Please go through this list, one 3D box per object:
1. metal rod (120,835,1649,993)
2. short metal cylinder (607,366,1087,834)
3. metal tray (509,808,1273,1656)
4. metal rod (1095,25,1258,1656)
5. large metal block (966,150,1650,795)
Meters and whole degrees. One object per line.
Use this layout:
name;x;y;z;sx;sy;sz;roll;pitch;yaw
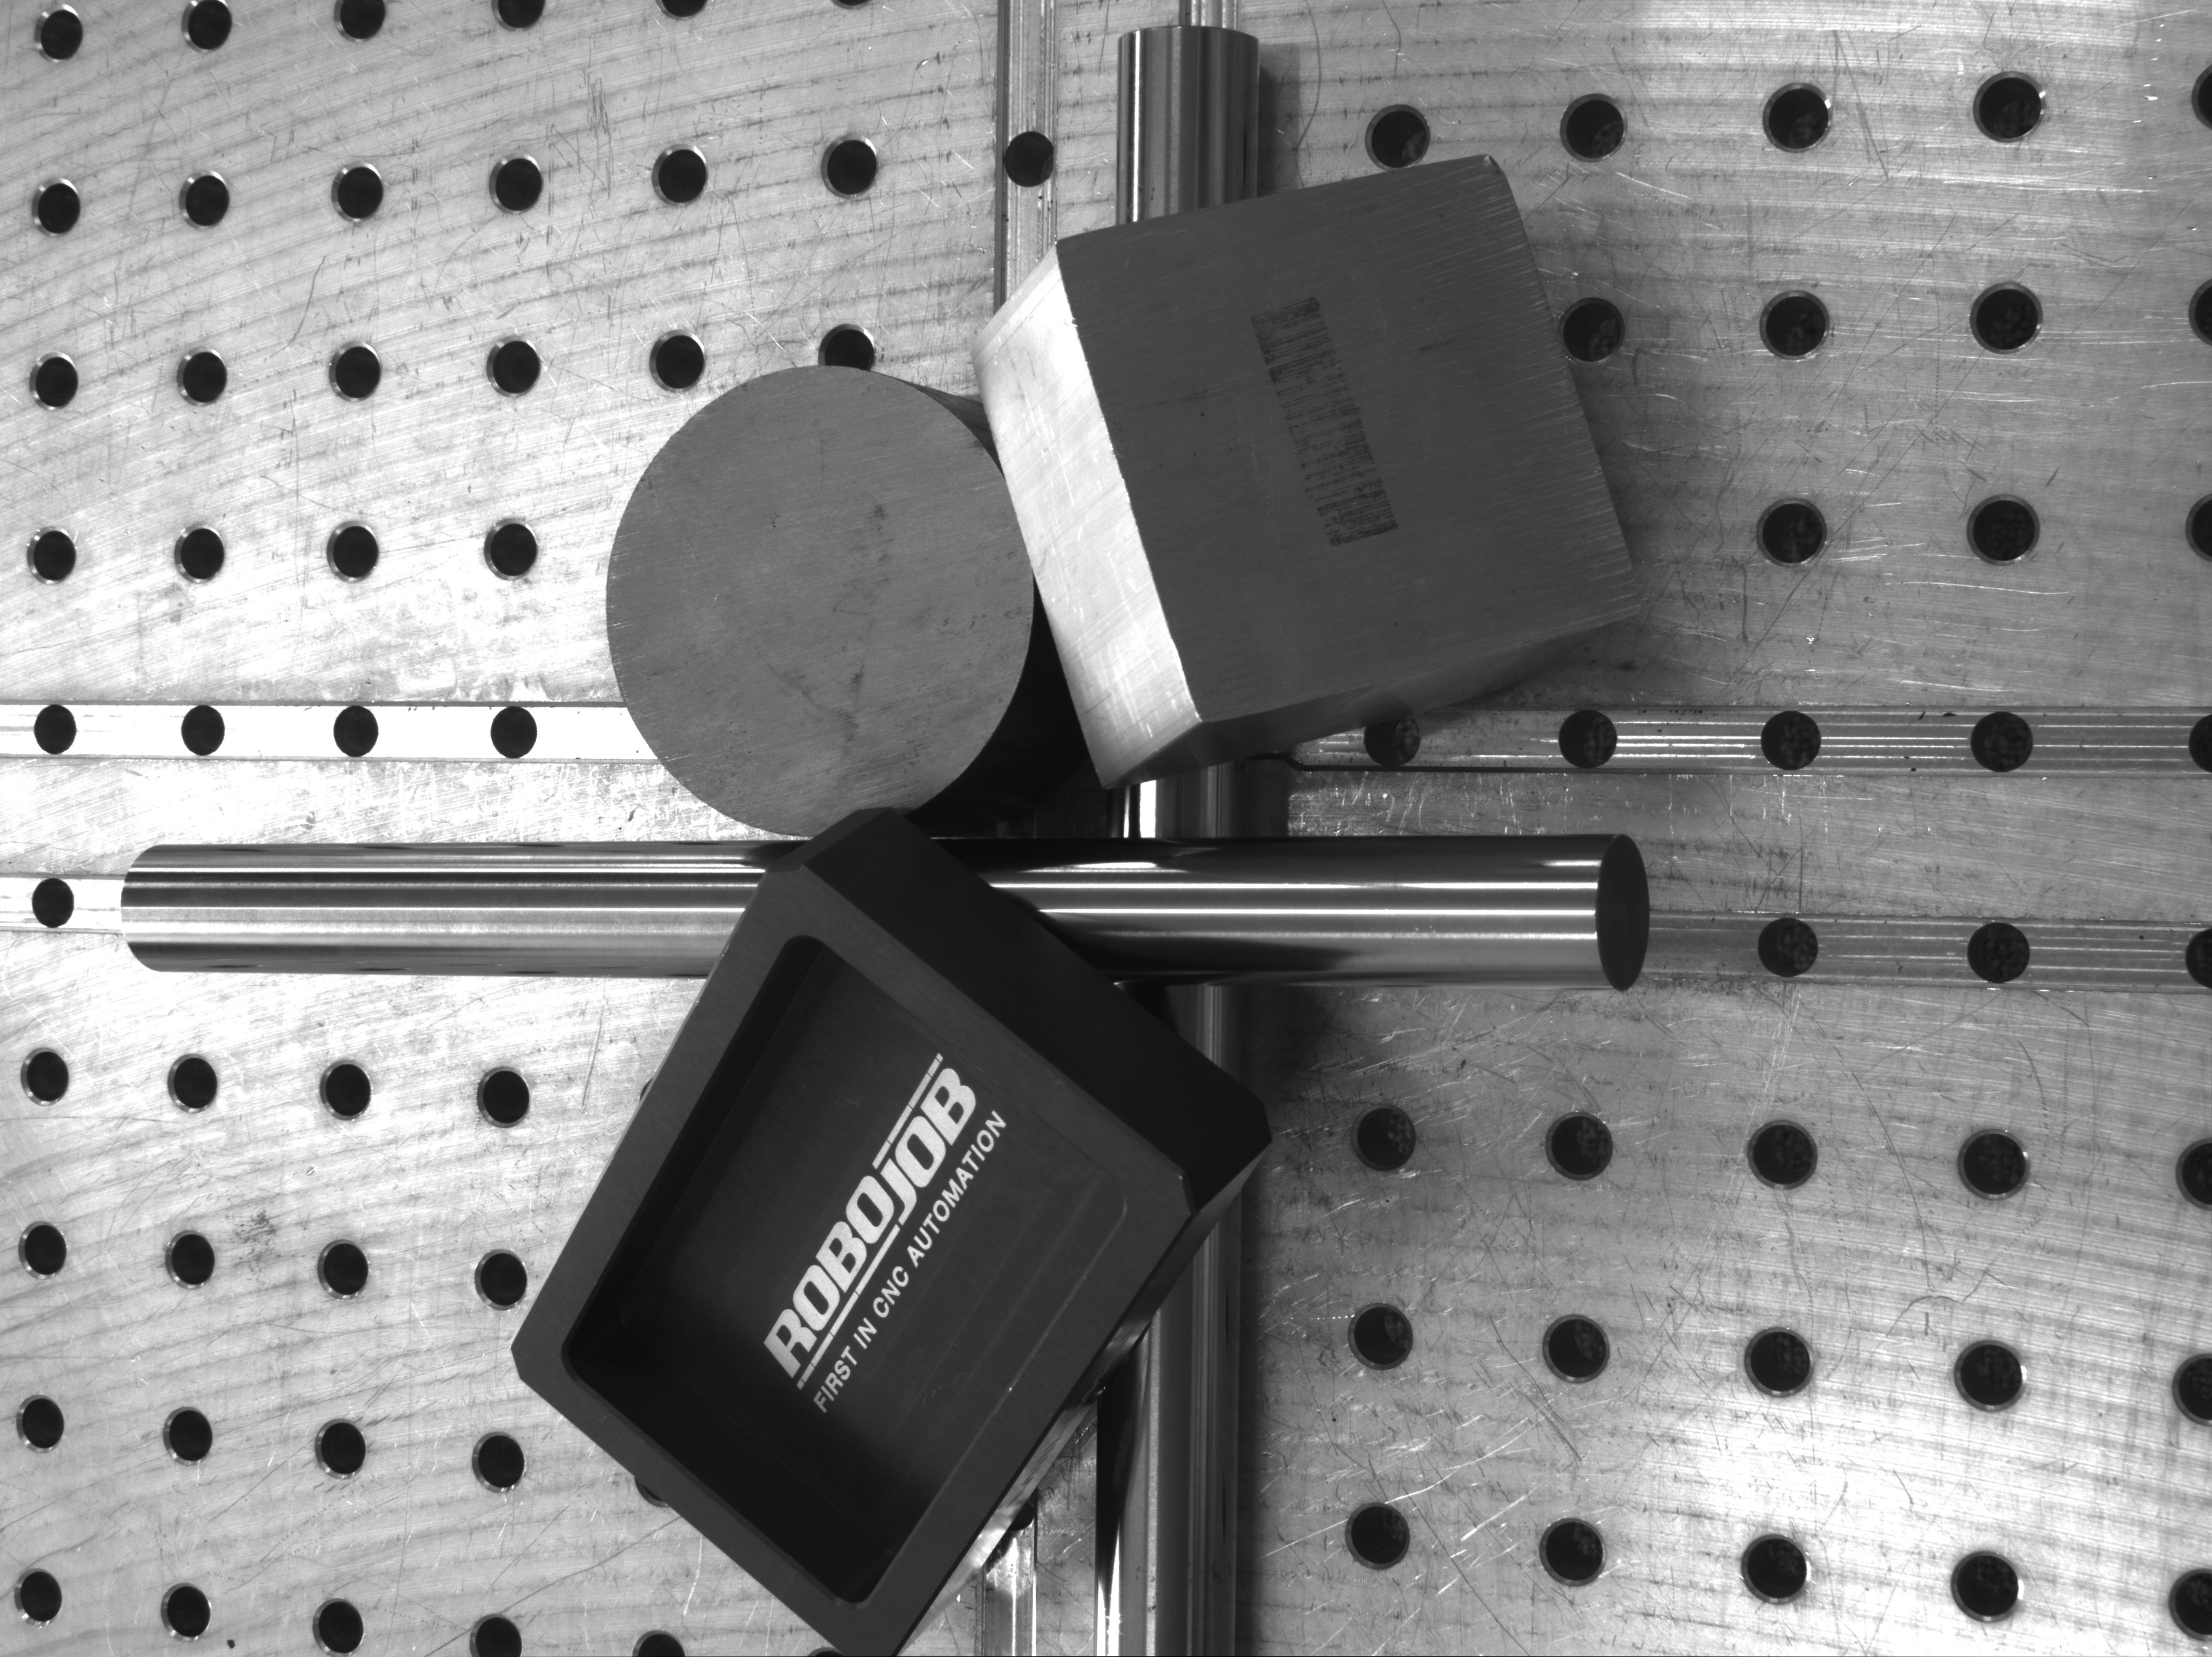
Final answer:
metal rod;-0.051;0.015;0.650;0.299;0.025;0.025;0;90;27
short metal cylinder;-0.041;-0.039;0.651;0.080;0.050;0.080;0;90;20
metal tray;-0.040;0.072;0.634;0.090;0.030;0.130;38;123;10
metal rod;0.012;0.012;0.645;0.025;0.025;0.300;1;90;20
large metal block;0.032;-0.058;0.603;0.080;0.050;0.080;-15;84;-20
